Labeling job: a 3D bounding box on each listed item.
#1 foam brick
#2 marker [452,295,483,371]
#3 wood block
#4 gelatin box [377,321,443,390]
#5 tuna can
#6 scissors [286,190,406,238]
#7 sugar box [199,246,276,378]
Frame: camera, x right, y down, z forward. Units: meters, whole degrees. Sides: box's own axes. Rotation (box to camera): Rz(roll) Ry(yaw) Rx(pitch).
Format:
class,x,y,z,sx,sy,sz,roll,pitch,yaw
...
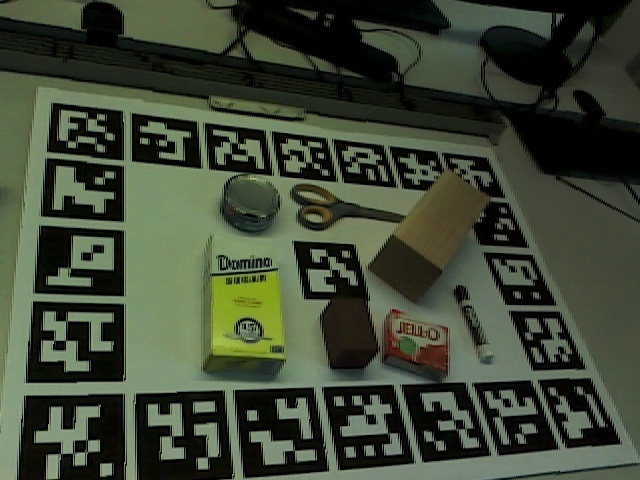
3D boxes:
class,x,y,z,sx,sy,sz,roll,pitch,yaw
foam brick,0.034,0.138,0.829,0.052,0.051,0.078,5,53,-19
marker,0.221,0.138,0.934,0.019,0.019,0.121,5,54,-20
wood block,0.175,0.008,0.975,0.090,0.091,0.206,37,48,9
gelatin box,0.127,0.161,0.870,0.089,0.030,0.073,19,50,-8
tuna can,-0.111,-0.043,0.922,0.085,0.034,0.086,11,51,-15
scissors,0.045,-0.031,0.996,0.202,0.016,0.088,9,51,-14
sugar box,-0.109,0.092,0.816,0.092,0.045,0.177,8,51,-18
